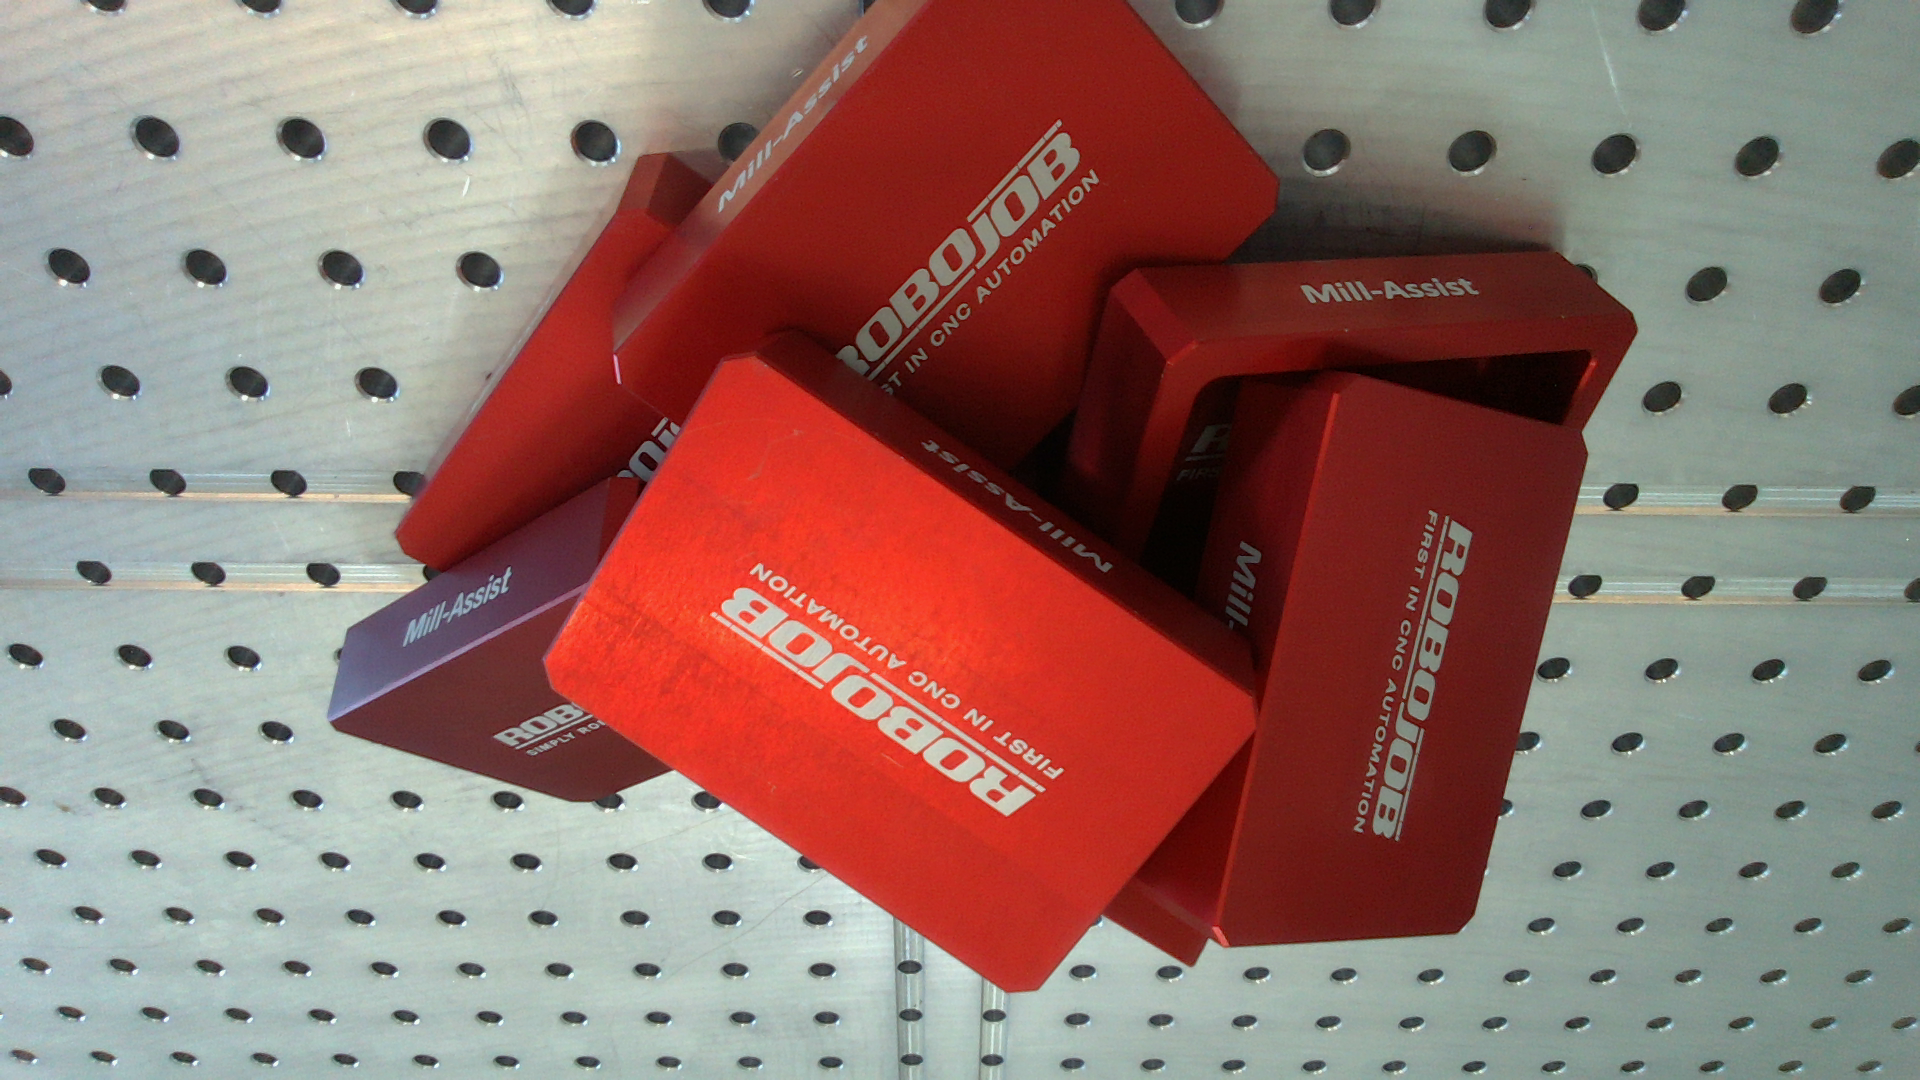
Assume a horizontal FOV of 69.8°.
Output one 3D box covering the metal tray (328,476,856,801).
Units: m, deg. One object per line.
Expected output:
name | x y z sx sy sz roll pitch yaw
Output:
metal tray | -0.102 0.034 0.389 0.130 0.030 0.090 -24 143 33

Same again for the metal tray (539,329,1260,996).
metal tray | -0.013 0.028 0.298 0.130 0.030 0.090 35 110 -2

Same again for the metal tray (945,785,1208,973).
metal tray | 0.008 0.071 0.393 0.090 0.130 0.030 35 80 -27

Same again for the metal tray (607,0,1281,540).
metal tray | -0.005 -0.064 0.311 0.130 0.030 0.090 -44 121 14

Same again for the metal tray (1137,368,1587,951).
metal tray | 0.099 0.030 0.334 0.090 0.030 0.130 7 97 -33

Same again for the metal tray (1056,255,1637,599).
metal tray | 0.092 -0.023 0.342 0.130 0.030 0.090 -6 133 -22

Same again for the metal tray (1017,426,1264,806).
metal tray | 0.052 0.024 0.372 0.130 0.090 0.030 37 121 -26

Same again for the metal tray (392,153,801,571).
metal tray | -0.080 -0.026 0.367 0.090 0.030 0.130 31 123 -24
